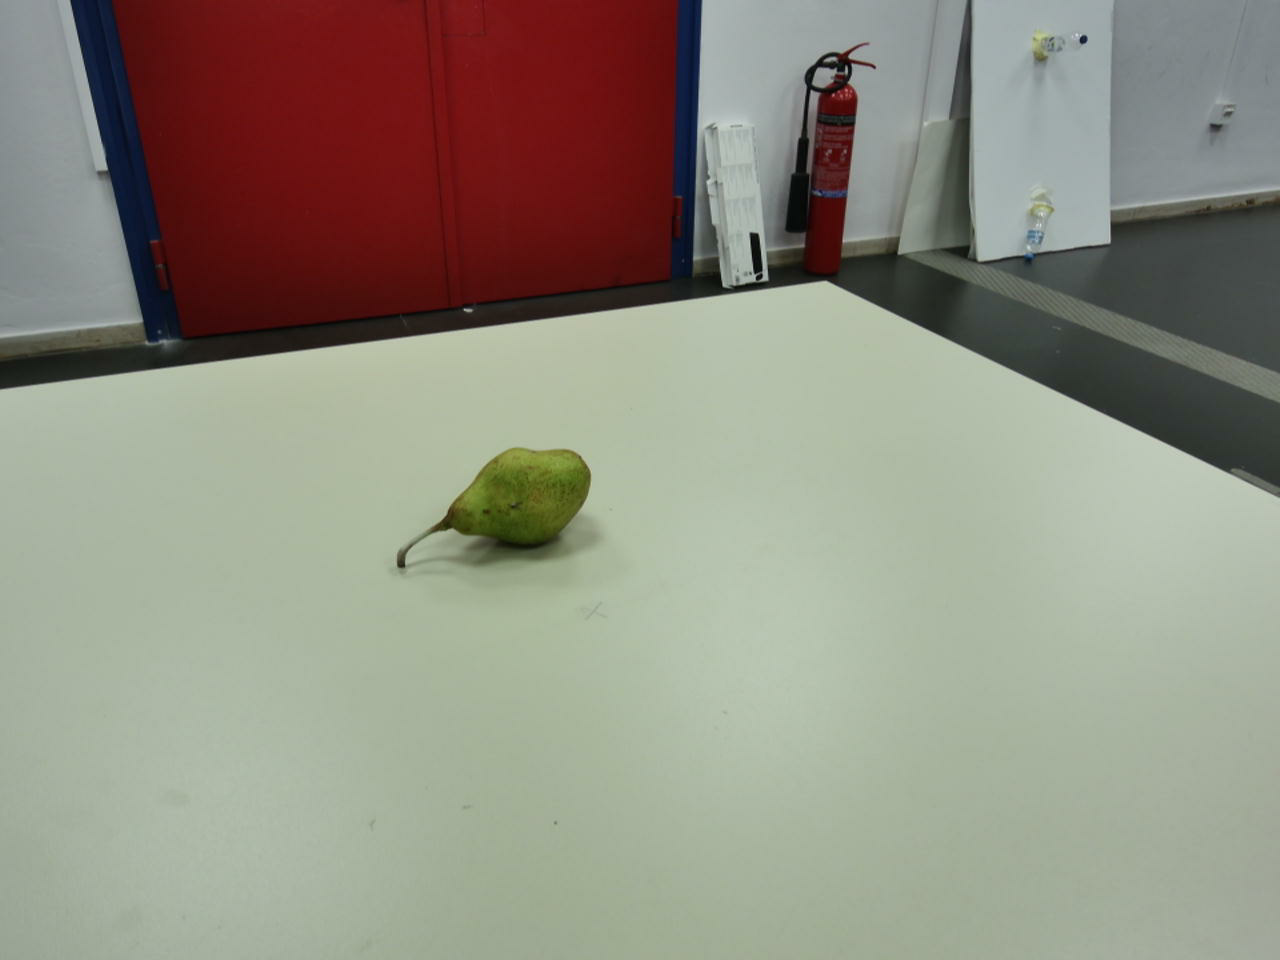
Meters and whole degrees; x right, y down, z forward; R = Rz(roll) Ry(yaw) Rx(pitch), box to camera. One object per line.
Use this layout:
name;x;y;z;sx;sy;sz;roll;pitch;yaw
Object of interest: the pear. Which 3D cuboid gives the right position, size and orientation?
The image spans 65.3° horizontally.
pear;-0.083;0.011;0.567;0.111;0.056;0.056;-4;27;-9
